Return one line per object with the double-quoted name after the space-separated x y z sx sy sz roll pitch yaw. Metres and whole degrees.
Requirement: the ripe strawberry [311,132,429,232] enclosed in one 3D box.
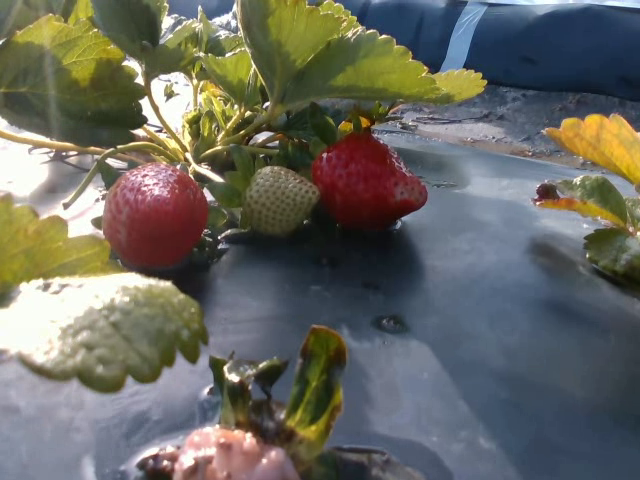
0.024 -0.026 0.266 0.065 0.049 0.050 36 -7 41 "ripe strawberry"
